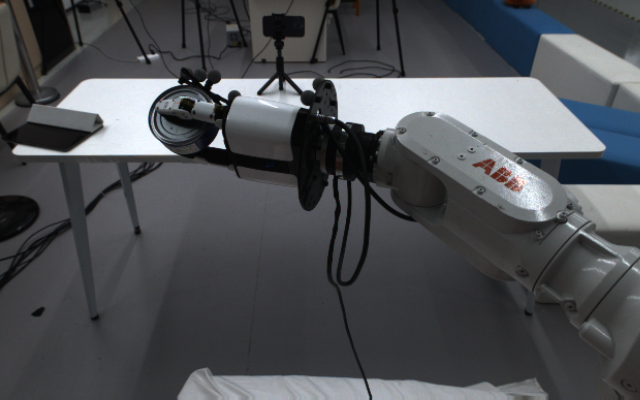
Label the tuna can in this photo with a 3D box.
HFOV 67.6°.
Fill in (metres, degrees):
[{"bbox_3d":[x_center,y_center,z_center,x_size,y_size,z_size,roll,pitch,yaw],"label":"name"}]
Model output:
[{"bbox_3d":[-0.175,-0.103,0.630,0.085,0.034,0.085,-2,70,6],"label":"tuna can"}]
